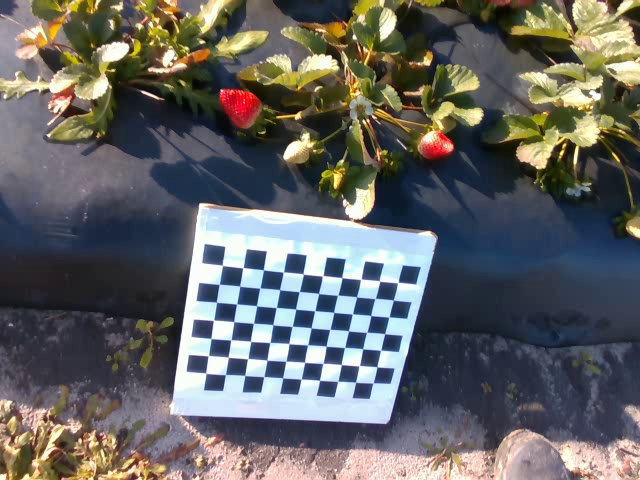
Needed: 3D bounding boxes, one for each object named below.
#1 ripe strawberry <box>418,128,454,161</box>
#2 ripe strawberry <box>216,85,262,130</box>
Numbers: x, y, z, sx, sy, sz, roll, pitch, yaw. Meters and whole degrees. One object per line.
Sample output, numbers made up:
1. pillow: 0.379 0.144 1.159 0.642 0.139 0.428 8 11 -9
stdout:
1. ripe strawberry: 0.121 -0.098 0.724 0.042 0.037 0.045 -24 29 -34
2. ripe strawberry: -0.079 -0.134 0.676 0.053 0.044 0.036 32 13 -30
